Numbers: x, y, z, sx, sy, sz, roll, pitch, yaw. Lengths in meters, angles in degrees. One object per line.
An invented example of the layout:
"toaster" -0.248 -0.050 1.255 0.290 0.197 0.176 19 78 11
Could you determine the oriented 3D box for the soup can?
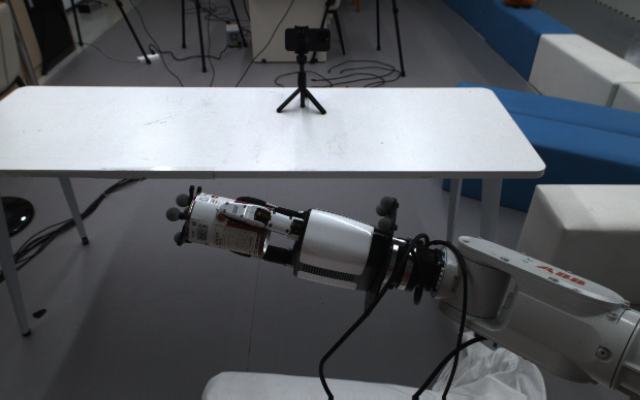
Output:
"soup can" -0.114 0.034 0.634 0.101 0.067 0.067 12 35 -1
